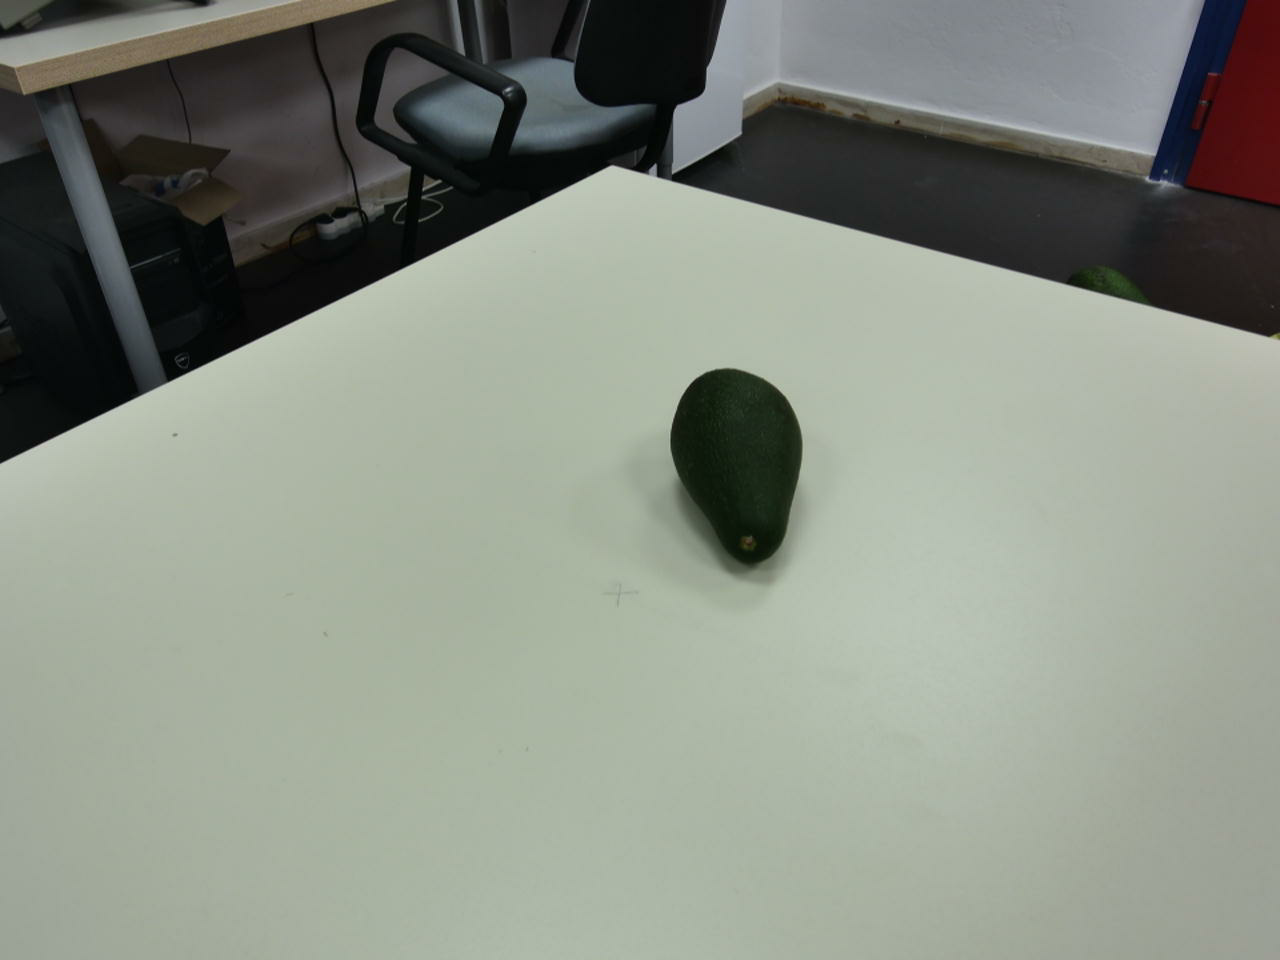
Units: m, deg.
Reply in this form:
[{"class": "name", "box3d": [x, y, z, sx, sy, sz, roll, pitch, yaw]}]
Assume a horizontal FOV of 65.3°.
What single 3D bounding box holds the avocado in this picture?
[{"class": "avocado", "box3d": [0.048, -0.012, 0.525, 0.073, 0.071, 0.109, 9, 38, 12]}]
